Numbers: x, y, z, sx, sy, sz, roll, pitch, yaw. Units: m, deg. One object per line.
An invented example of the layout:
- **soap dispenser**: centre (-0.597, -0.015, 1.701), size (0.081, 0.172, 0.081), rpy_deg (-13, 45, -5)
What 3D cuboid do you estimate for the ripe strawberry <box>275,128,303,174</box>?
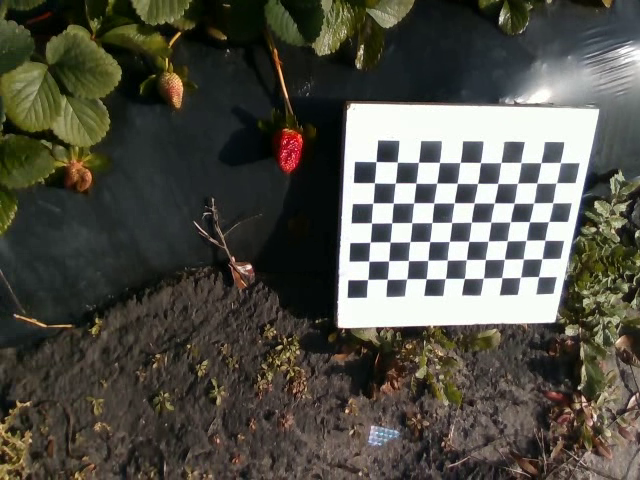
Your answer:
- **ripe strawberry**: centre (-0.013, -0.035, 0.203), size (0.015, 0.023, 0.015), rpy_deg (7, -31, -10)
